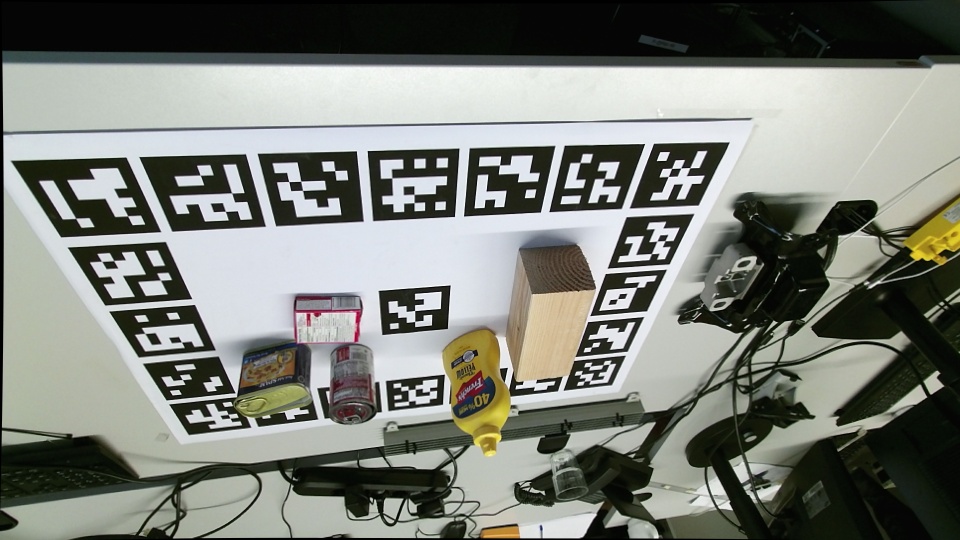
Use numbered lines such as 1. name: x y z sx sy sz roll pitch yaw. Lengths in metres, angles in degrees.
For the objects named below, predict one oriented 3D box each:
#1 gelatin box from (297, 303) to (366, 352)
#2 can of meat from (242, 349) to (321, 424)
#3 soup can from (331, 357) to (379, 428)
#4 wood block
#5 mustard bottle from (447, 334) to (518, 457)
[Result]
1. gelatin box: -0.209 0.081 0.752 0.090 0.030 0.073 2 132 -20
2. can of meat: -0.288 0.169 0.788 0.102 0.083 0.058 -13 135 1
3. soup can: -0.190 0.191 0.809 0.068 0.101 0.068 -8 134 -8
4. wood block: 0.104 0.079 0.795 0.091 0.089 0.206 -3 138 -10
5. mustard bottle: 0.007 0.193 0.818 0.096 0.190 0.058 -22 136 9
